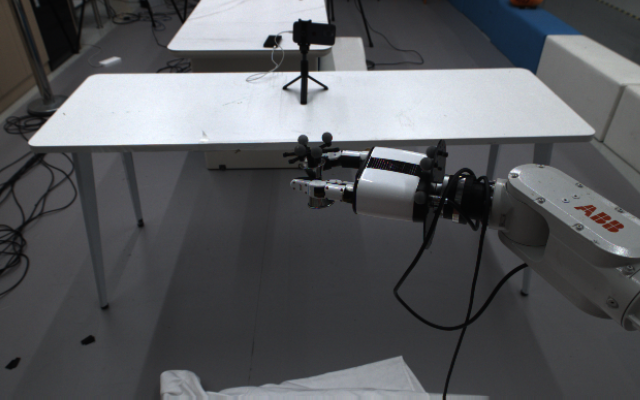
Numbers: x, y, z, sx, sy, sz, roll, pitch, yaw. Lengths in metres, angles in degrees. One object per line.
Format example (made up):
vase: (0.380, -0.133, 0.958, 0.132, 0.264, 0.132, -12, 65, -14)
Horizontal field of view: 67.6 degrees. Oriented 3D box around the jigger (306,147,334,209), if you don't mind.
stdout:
jigger: (-0.003, -0.028, 0.754, 0.043, 0.071, 0.043, -11, 23, 5)
